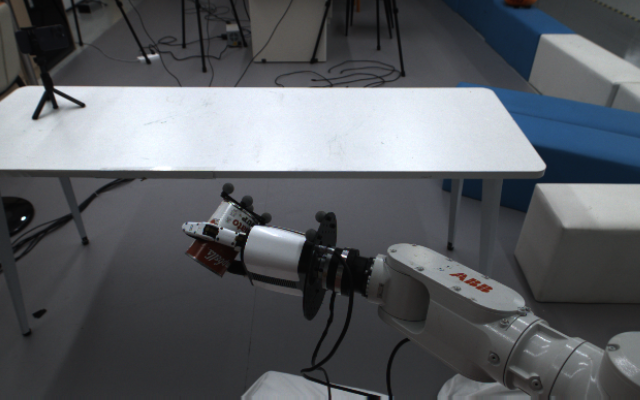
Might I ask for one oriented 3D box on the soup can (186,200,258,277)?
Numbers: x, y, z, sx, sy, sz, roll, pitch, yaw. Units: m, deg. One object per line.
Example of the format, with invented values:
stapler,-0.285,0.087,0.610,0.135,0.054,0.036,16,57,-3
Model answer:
soup can,-0.149,0.059,0.737,0.067,0.067,0.101,25,73,30
